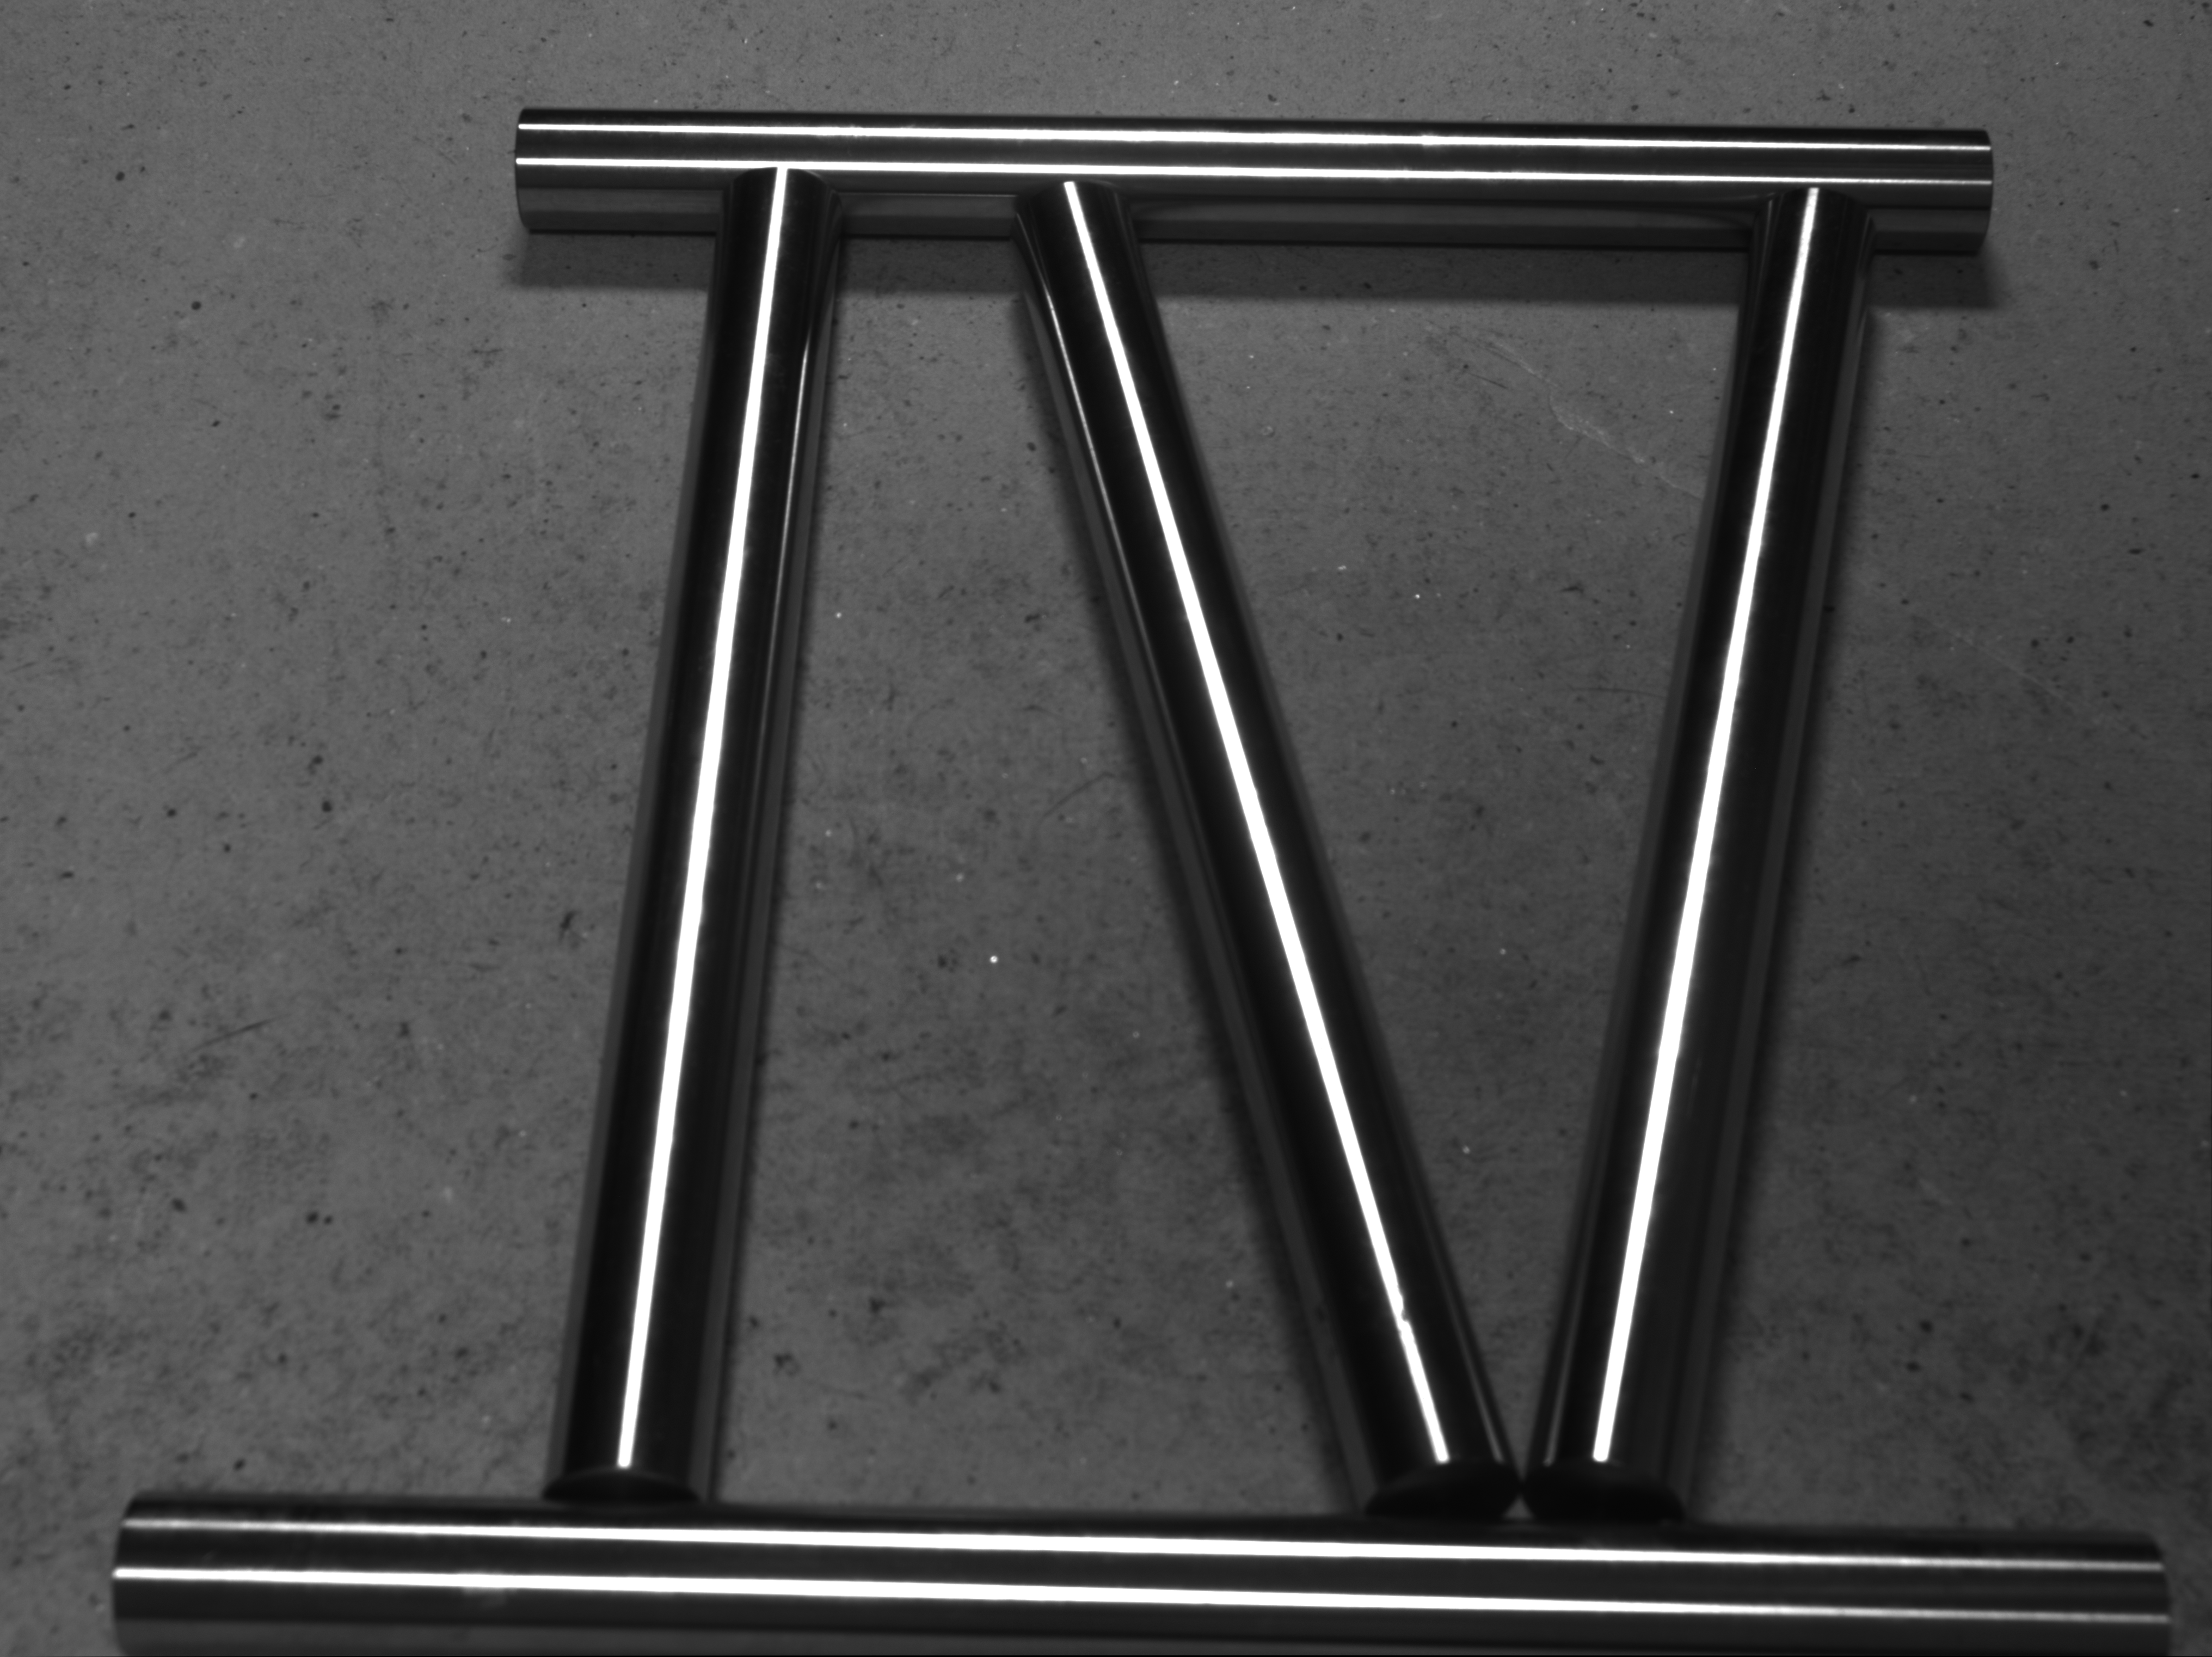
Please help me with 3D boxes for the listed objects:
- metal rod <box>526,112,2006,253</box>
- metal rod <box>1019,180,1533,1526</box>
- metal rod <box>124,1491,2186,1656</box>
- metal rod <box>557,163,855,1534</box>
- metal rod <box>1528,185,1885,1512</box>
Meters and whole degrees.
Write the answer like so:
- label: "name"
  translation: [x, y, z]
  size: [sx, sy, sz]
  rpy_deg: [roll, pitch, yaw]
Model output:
- label: "metal rod"
  translation: [0.032, -0.133, 0.755]
  size: [0.300, 0.025, 0.025]
  rpy_deg: [1, 50, 1]
- label: "metal rod"
  translation: [0.024, -0.010, 0.649]
  size: [0.025, 0.025, 0.300]
  rpy_deg: [-9, 50, -7]
- label: "metal rod"
  translation: [0.007, 0.114, 0.545]
  size: [0.300, 0.025, 0.025]
  rpy_deg: [1, 50, 1]
- label: "metal rod"
  translation: [-0.067, -0.012, 0.651]
  size: [0.025, 0.025, 0.300]
  rpy_deg: [1, 50, 1]
- label: "metal rod"
  translation: [0.111, -0.009, 0.649]
  size: [0.025, 0.025, 0.300]
  rpy_deg: [10, 50, 9]
